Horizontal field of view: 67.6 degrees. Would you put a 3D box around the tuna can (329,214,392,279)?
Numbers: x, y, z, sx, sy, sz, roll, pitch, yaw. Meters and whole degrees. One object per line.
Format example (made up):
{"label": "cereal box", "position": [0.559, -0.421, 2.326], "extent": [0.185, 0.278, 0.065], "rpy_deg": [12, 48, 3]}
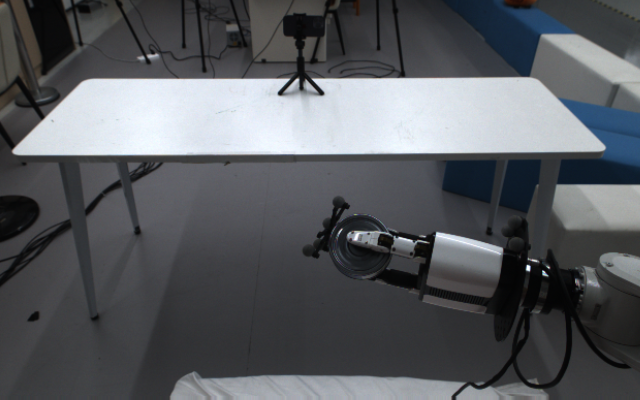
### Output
{"label": "tuna can", "position": [0.057, 0.061, 0.651], "extent": [0.085, 0.034, 0.085], "rpy_deg": [-2, 71, 5]}
